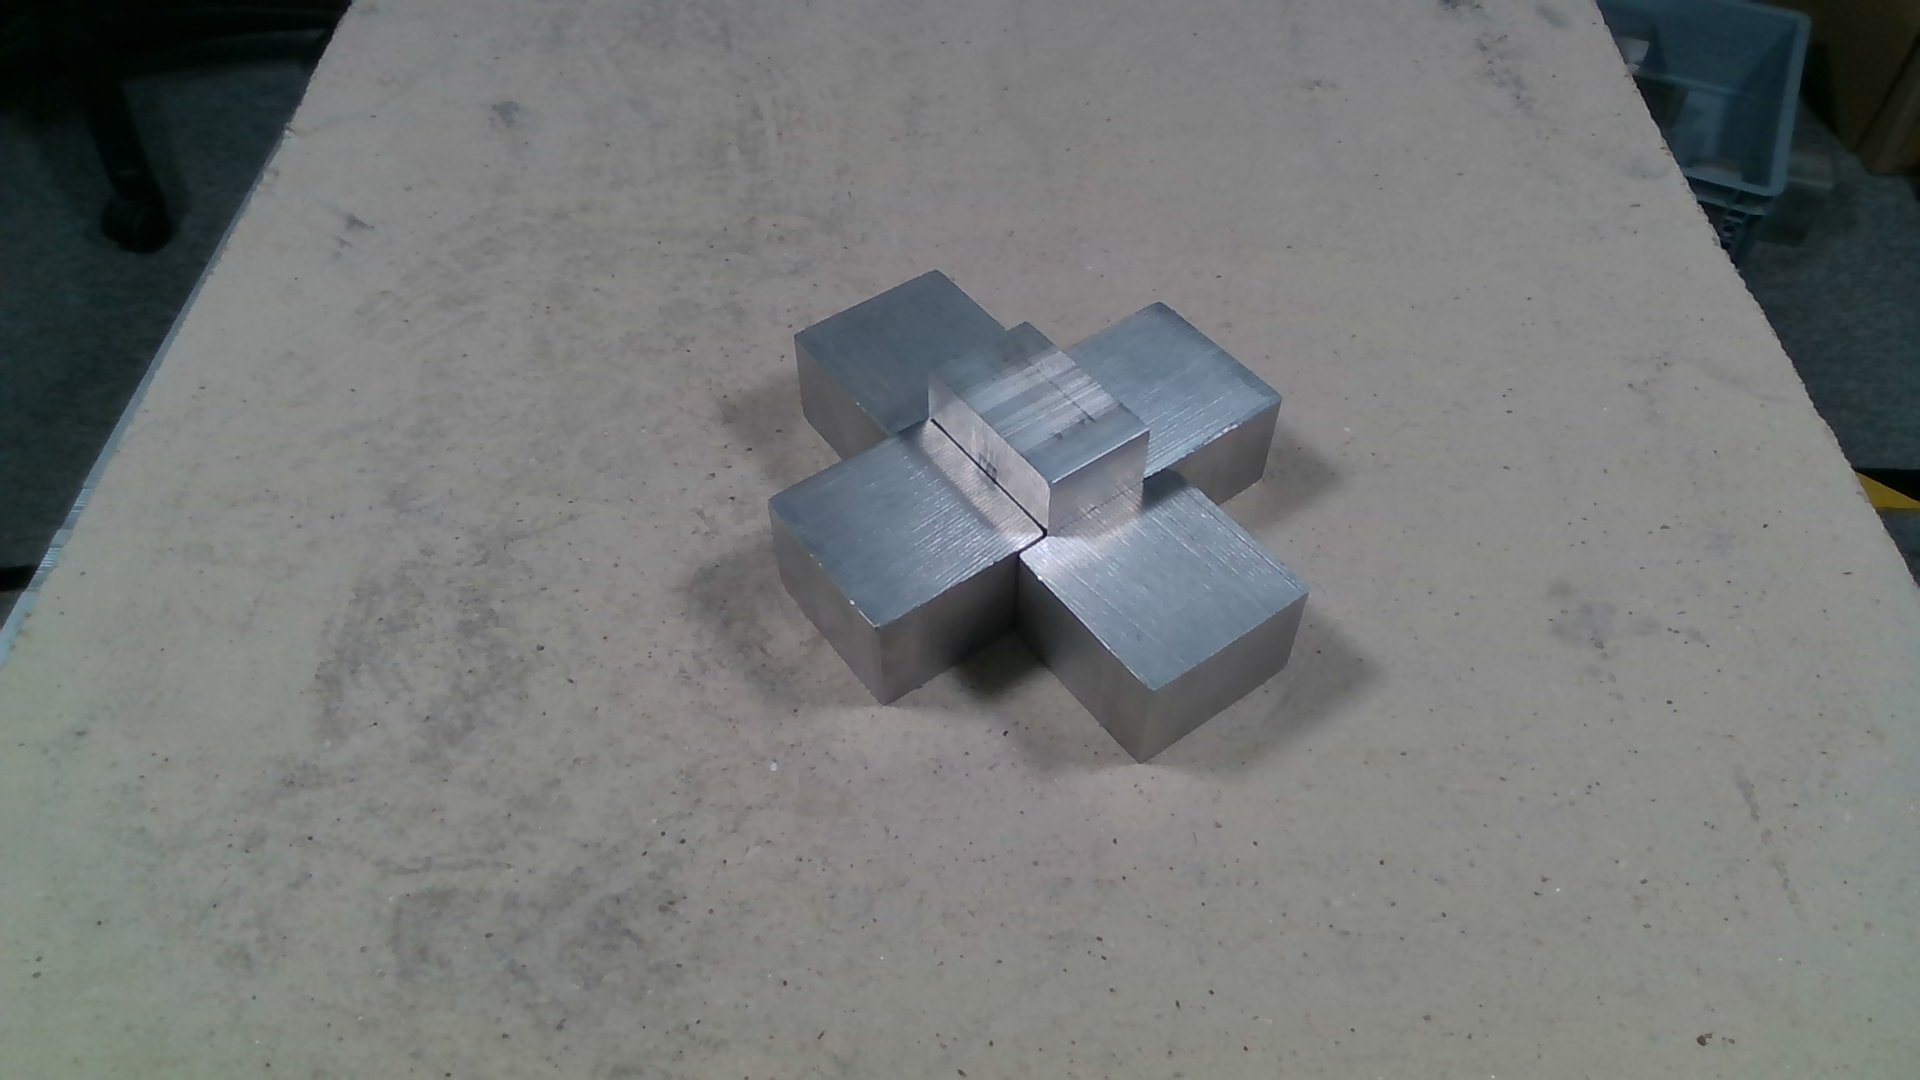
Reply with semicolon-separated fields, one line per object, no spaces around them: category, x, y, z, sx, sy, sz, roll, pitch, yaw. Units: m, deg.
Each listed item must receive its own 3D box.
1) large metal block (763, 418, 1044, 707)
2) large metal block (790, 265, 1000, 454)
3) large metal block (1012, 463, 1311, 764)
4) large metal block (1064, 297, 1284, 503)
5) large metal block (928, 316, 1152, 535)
large metal block;-0.023;0.008;0.564;0.080;0.050;0.080;-30;56;-22
large metal block;-0.020;-0.070;0.628;0.080;0.050;0.080;-30;56;-22
large metal block;0.077;0.027;0.547;0.080;0.050;0.080;-30;56;-22
large metal block;0.083;-0.052;0.613;0.080;0.050;0.080;-30;56;-22
large metal block;0.031;-0.032;0.578;0.050;0.080;0.080;-30;56;-22
